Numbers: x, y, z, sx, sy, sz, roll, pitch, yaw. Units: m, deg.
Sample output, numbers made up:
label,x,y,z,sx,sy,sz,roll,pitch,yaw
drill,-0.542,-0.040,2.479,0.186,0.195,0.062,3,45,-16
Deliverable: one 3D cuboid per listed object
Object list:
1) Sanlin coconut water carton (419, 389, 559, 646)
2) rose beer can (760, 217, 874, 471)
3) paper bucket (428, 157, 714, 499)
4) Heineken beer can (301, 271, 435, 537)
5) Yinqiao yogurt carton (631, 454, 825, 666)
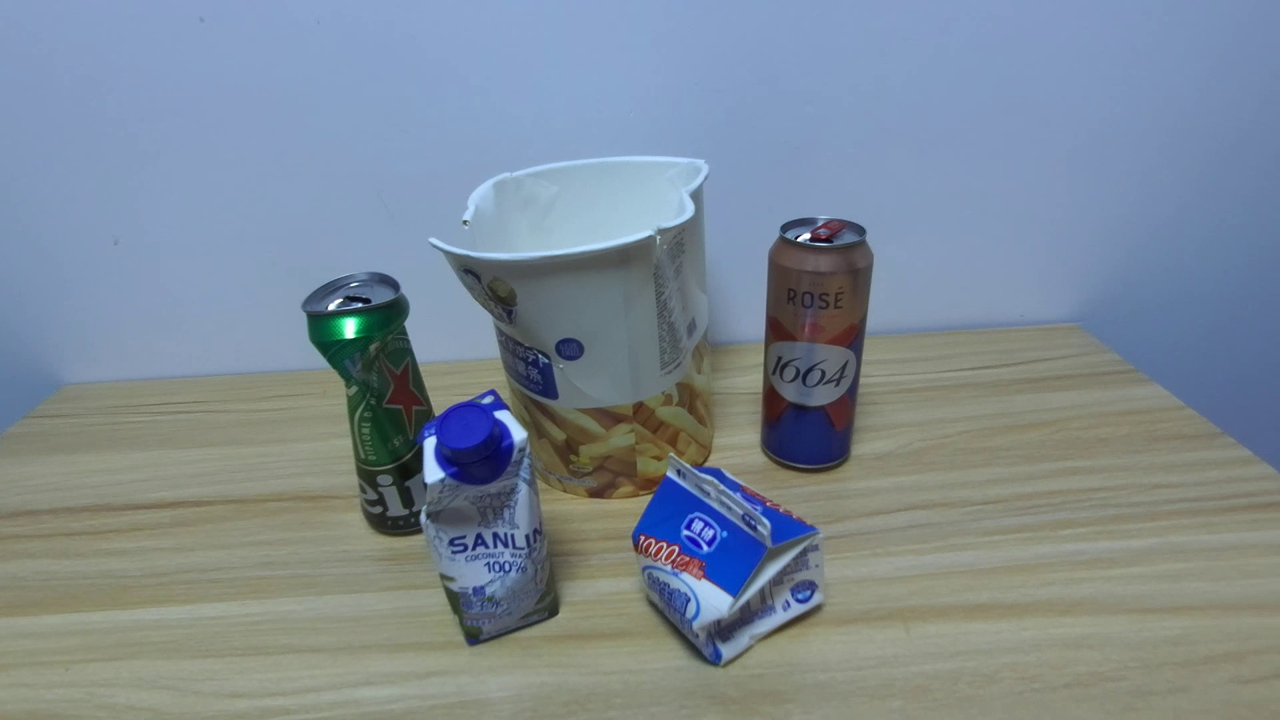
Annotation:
label,x,y,z,sx,sy,sz,roll,pitch,yaw
Sanlin coconut water carton,-0.084,0.078,0.372,0.061,0.144,0.069,-15,32,-17
rose beer can,0.119,-0.007,0.483,0.068,0.169,0.068,-2,29,1
paper bucket,-0.025,-0.024,0.494,0.145,0.197,0.202,0,29,9
Heineken beer can,-0.161,0.029,0.452,0.066,0.164,0.078,13,35,29
Yinqiao yogurt carton,0.043,0.099,0.369,0.080,0.097,0.074,-30,37,-27
